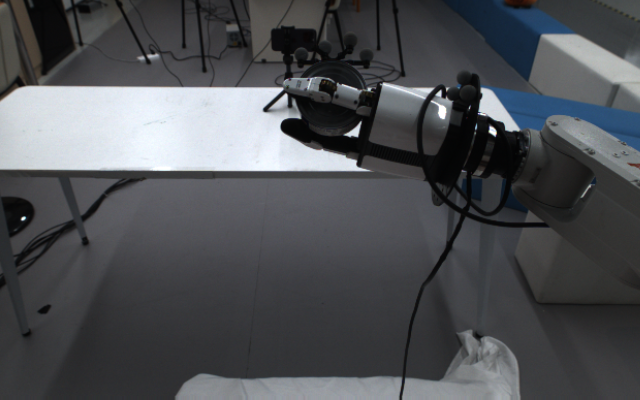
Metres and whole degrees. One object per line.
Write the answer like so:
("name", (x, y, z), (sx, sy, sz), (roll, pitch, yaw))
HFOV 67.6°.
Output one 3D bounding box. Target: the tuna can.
("tuna can", (0.014, -0.123, 0.580), (0.085, 0.034, 0.085), (-1, 74, 4))
